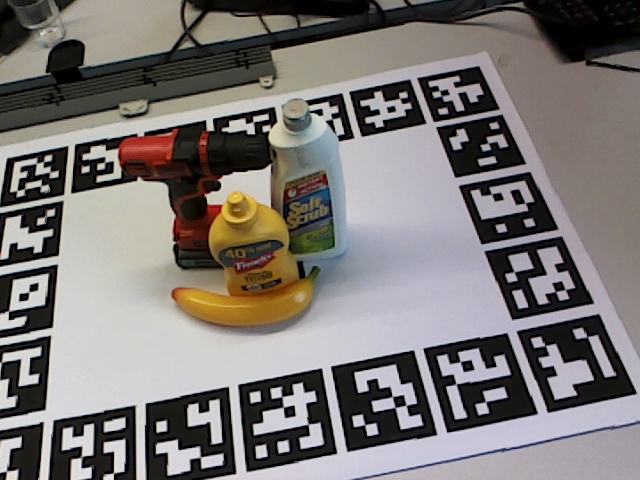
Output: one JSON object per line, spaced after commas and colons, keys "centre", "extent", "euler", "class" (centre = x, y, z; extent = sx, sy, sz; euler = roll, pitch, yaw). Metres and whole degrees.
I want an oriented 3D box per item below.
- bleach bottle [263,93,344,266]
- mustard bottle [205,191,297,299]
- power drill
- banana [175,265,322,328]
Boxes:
{"centre": [-0.028, -0.069, 0.756], "extent": [0.102, 0.250, 0.068], "euler": [-9, 51, 2], "class": "bleach bottle"}
{"centre": [-0.086, 0.004, 0.744], "extent": [0.096, 0.191, 0.058], "euler": [-10, 57, 0], "class": "mustard bottle"}
{"centre": [-0.138, -0.057, 0.768], "extent": [0.185, 0.186, 0.057], "euler": [0, 56, 6], "class": "power drill"}
{"centre": [-0.092, 0.079, 0.799], "extent": [0.197, 0.038, 0.074], "euler": [-8, 58, 5], "class": "banana"}
